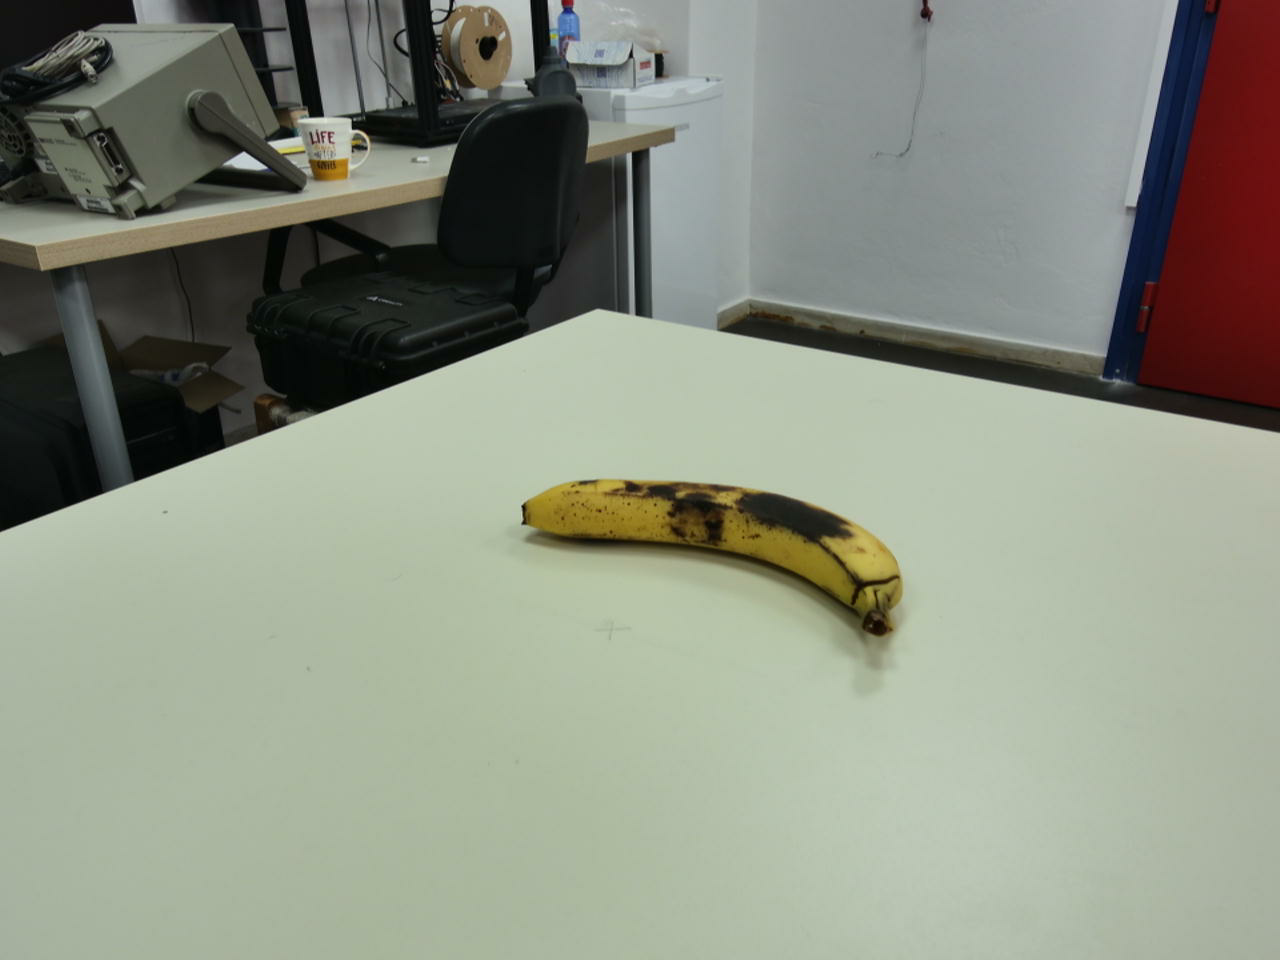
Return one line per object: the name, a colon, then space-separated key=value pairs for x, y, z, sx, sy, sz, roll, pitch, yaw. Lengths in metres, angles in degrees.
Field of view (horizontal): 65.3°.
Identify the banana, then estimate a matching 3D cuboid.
banana: x=0.043 y=0.029 z=0.528 sx=0.222 sy=0.037 sz=0.084 roll=17 pitch=29 yaw=34
